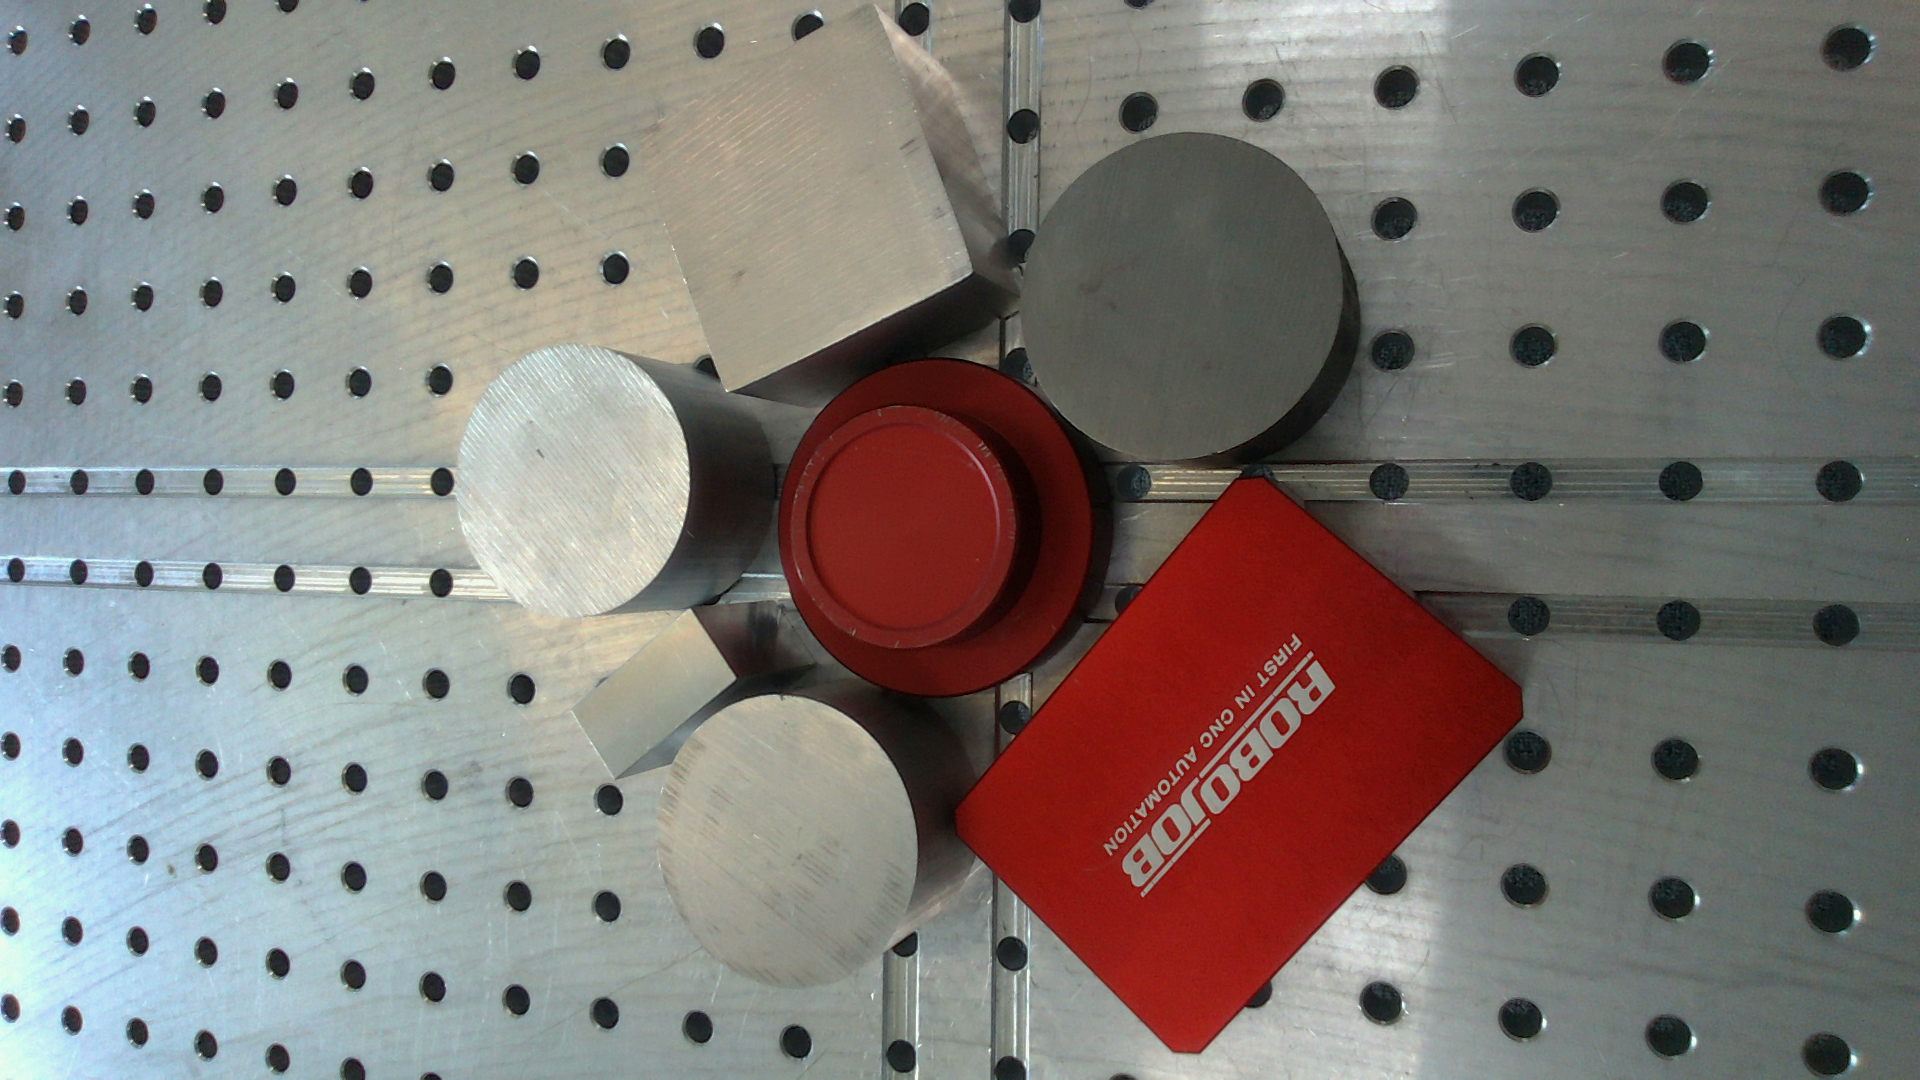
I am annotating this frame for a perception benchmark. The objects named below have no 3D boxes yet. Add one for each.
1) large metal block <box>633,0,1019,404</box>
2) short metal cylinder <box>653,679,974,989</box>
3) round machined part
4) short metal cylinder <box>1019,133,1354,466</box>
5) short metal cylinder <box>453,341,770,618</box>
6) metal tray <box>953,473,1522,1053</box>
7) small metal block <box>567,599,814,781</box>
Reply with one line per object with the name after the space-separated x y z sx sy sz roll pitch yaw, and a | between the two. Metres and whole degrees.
-0.036 -0.093 0.398 0.080 0.050 0.080 -23 83 19 | large metal block
-0.041 0.083 0.399 0.080 0.050 0.080 0 90 20 | short metal cylinder
-0.010 -0.004 0.392 0.098 0.042 0.098 0 90 20 | round machined part
0.061 -0.060 0.362 0.080 0.050 0.080 0 90 20 | short metal cylinder
-0.106 -0.018 0.422 0.080 0.050 0.080 0 90 20 | short metal cylinder
0.072 0.058 0.369 0.090 0.030 0.130 42 103 15 | metal tray
-0.080 0.044 0.413 0.050 0.050 0.025 -39 77 16 | small metal block
